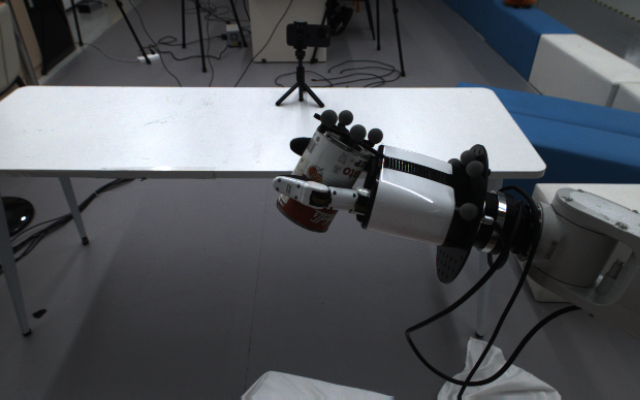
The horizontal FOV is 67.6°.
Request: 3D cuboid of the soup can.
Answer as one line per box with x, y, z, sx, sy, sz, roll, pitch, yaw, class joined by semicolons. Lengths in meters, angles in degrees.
0.005;-0.023;0.539;0.067;0.101;0.067;27;18;-9;soup can
